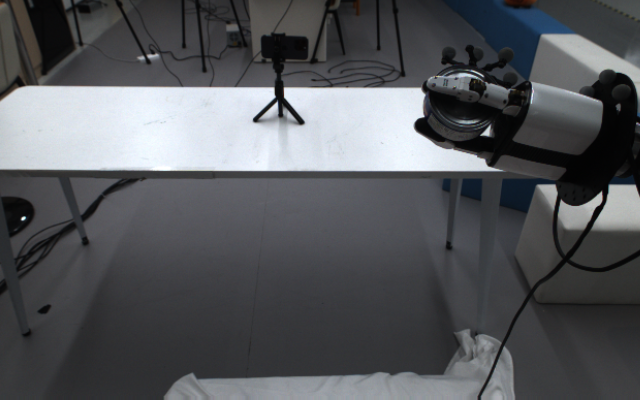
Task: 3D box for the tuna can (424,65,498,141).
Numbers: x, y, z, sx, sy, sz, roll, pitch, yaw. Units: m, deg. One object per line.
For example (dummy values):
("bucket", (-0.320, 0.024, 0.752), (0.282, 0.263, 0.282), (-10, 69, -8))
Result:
("tuna can", (0.168, -0.118, 0.575), (0.085, 0.034, 0.085), (0, 71, 0))
